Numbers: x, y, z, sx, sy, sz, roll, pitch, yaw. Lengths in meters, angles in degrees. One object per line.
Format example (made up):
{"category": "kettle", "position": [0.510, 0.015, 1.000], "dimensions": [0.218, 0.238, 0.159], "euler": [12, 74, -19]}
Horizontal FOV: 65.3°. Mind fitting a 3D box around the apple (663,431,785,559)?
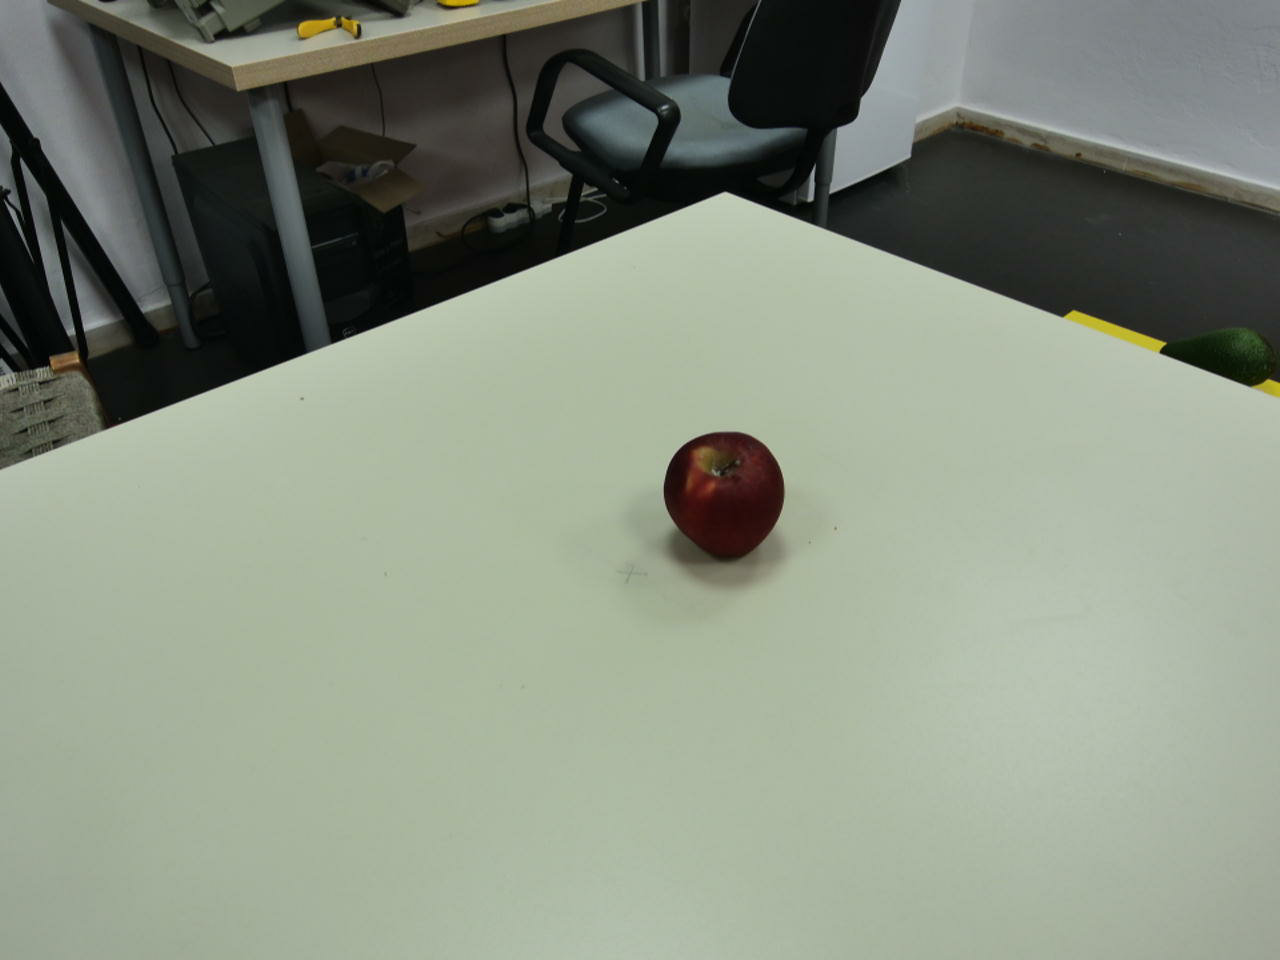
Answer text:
{"category": "apple", "position": [0.048, 0.008, 0.571], "dimensions": [0.070, 0.072, 0.070], "euler": [0, 36, 0]}
